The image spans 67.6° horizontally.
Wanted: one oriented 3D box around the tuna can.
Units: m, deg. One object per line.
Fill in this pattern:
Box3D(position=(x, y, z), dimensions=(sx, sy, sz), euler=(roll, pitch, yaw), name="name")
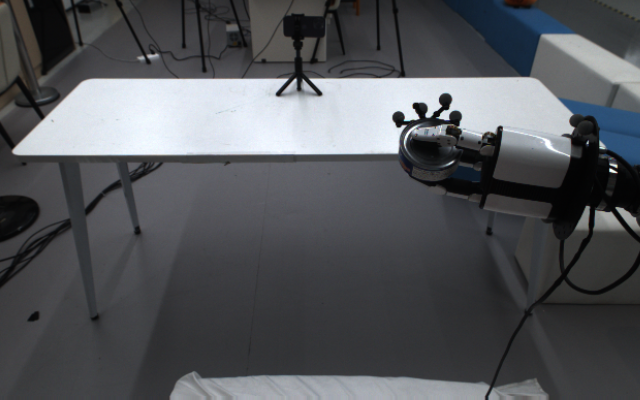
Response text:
Box3D(position=(0.149, -0.069, 0.658), dimensions=(0.085, 0.034, 0.085), euler=(-2, 58, 3), name="tuna can")
